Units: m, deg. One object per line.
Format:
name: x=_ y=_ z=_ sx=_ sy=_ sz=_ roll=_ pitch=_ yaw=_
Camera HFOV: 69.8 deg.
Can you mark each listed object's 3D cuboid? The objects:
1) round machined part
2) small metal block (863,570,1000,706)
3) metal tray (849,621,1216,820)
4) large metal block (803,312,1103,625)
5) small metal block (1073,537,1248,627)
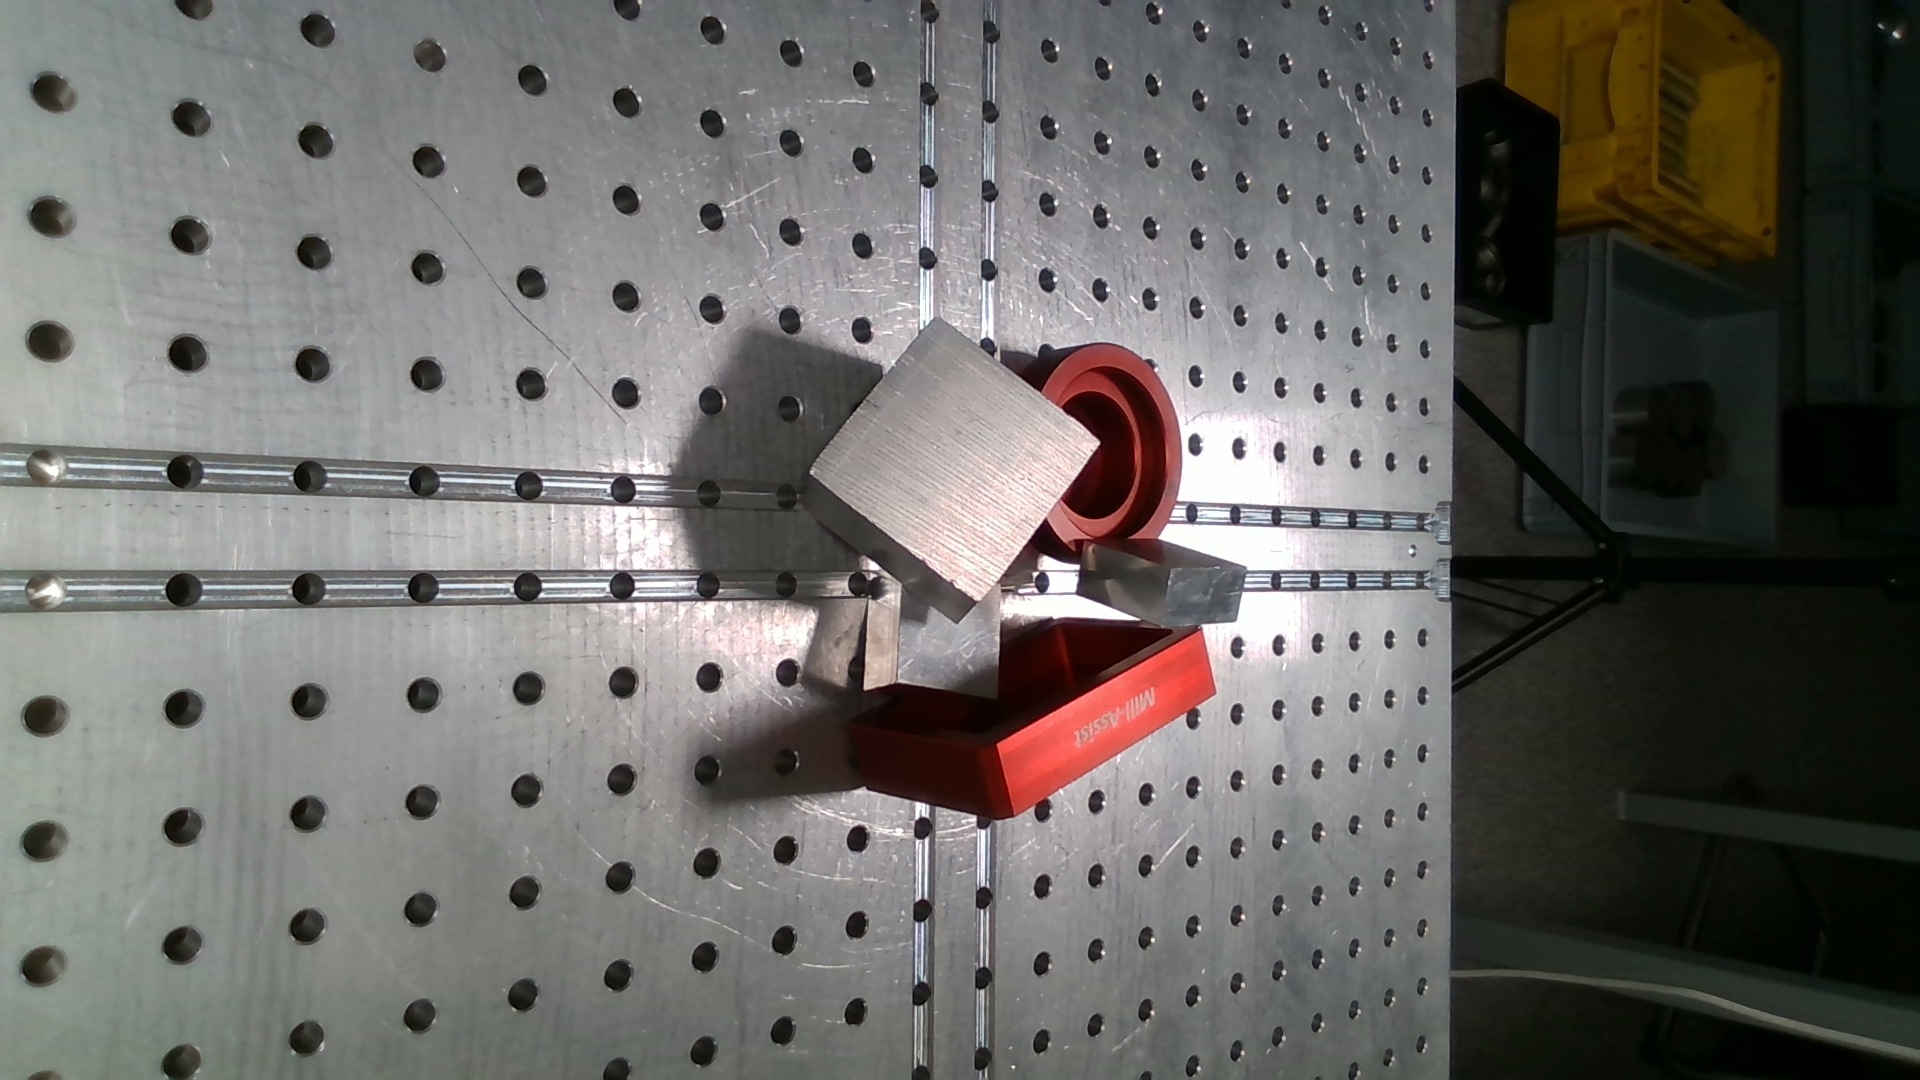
round machined part: x=0.052 y=-0.038 z=0.619 sx=0.098 sy=0.042 sz=0.098 roll=0 pitch=90 yaw=-40
small metal block: x=-0.011 y=0.040 z=0.570 sx=0.050 sy=0.025 sz=0.050 roll=14 pitch=70 yaw=-35
metal tray: x=0.031 y=0.069 z=0.570 sx=0.130 sy=0.090 sz=0.030 roll=-23 pitch=104 yaw=-38
large metal block: x=-0.005 y=-0.026 z=0.536 sx=0.080 sy=0.050 sz=0.080 roll=37 pitch=75 yaw=1
small metal block: x=0.086 y=0.017 z=0.589 sx=0.050 sy=0.050 sz=0.025 roll=0 pitch=104 yaw=-42
